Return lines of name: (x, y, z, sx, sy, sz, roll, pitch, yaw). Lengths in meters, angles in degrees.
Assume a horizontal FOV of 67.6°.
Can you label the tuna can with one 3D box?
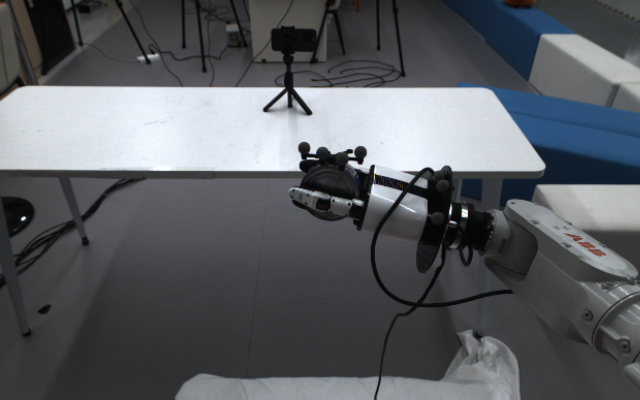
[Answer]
tuna can: (0.016, -0.016, 0.695, 0.085, 0.085, 0.034, 9, 23, 10)
